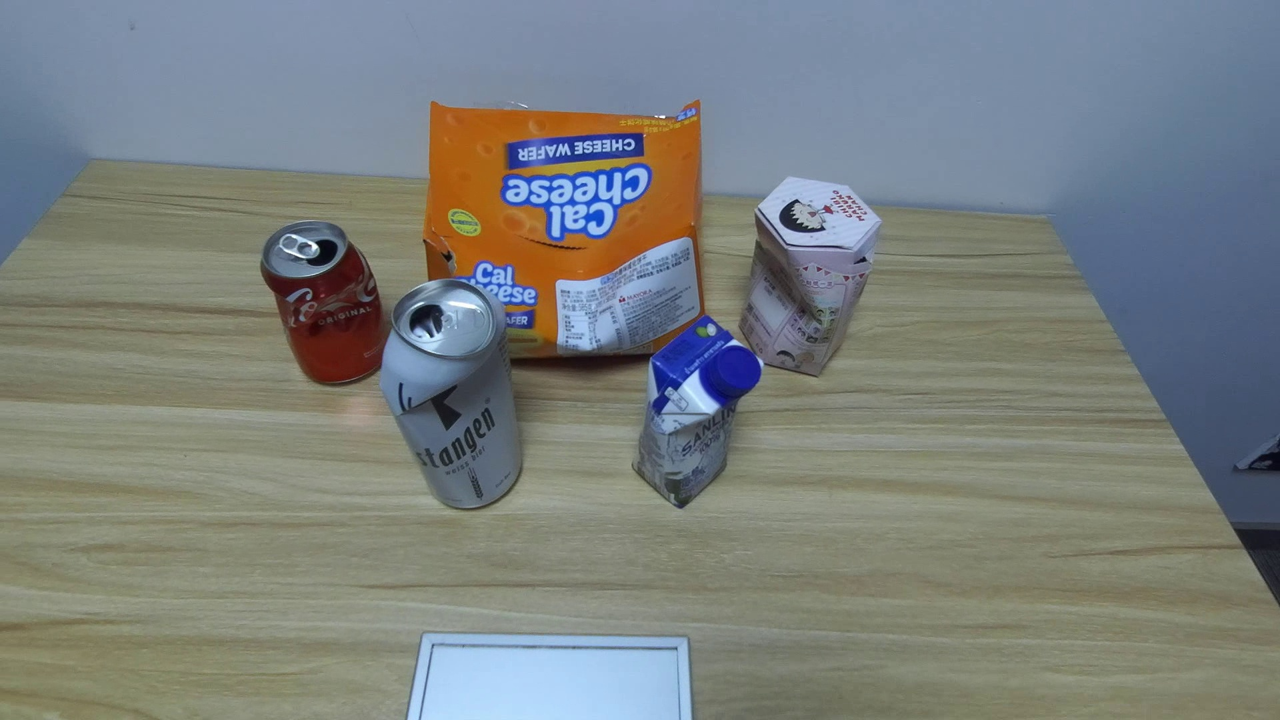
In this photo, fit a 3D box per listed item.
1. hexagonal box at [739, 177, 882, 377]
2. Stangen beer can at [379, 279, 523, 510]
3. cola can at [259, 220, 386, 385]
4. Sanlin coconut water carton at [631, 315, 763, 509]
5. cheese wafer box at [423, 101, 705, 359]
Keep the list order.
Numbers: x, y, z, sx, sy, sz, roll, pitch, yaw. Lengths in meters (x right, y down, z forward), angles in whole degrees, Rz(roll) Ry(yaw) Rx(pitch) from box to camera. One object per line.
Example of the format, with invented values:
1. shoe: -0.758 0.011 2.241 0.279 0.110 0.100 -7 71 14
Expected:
1. hexagonal box: 0.125 -0.059 0.545 0.090 0.134 0.091 15 50 12
2. Stangen beer can: -0.111 0.027 0.433 0.066 0.162 0.077 -3 51 -7
3. cola can: -0.228 -0.040 0.510 0.065 0.117 0.066 40 58 22
4. Sanlin coconut water carton: 0.035 0.034 0.454 0.057 0.142 0.078 40 57 19
5. cheese wafer box: -0.053 -0.093 0.551 0.219 0.145 0.191 -2 50 -7
